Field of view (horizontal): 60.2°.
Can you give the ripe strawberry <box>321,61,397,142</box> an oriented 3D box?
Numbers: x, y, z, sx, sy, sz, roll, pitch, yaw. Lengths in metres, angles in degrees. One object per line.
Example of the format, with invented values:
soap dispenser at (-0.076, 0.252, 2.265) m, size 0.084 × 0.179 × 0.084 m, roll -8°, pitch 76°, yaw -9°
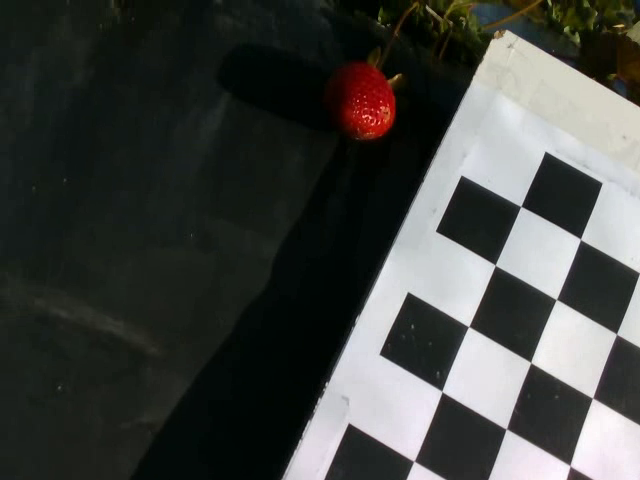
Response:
ripe strawberry at (0.011, -0.041, 0.173) m, size 0.034 × 0.033 × 0.038 m, roll 27°, pitch 25°, yaw -2°
